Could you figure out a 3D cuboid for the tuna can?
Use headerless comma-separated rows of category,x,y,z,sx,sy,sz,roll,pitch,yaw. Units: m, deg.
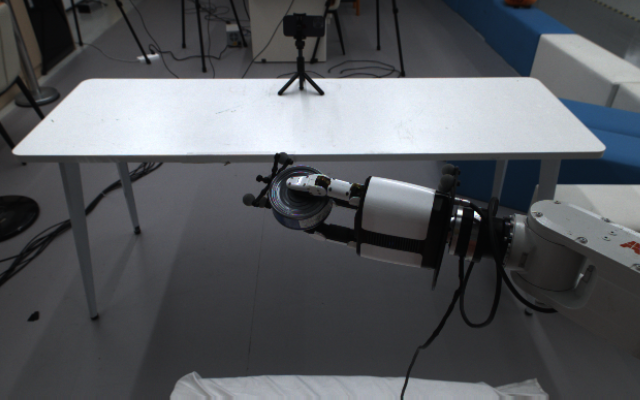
tuna can,-0.023,0.000,0.654,0.085,0.034,0.085,-1,62,1
